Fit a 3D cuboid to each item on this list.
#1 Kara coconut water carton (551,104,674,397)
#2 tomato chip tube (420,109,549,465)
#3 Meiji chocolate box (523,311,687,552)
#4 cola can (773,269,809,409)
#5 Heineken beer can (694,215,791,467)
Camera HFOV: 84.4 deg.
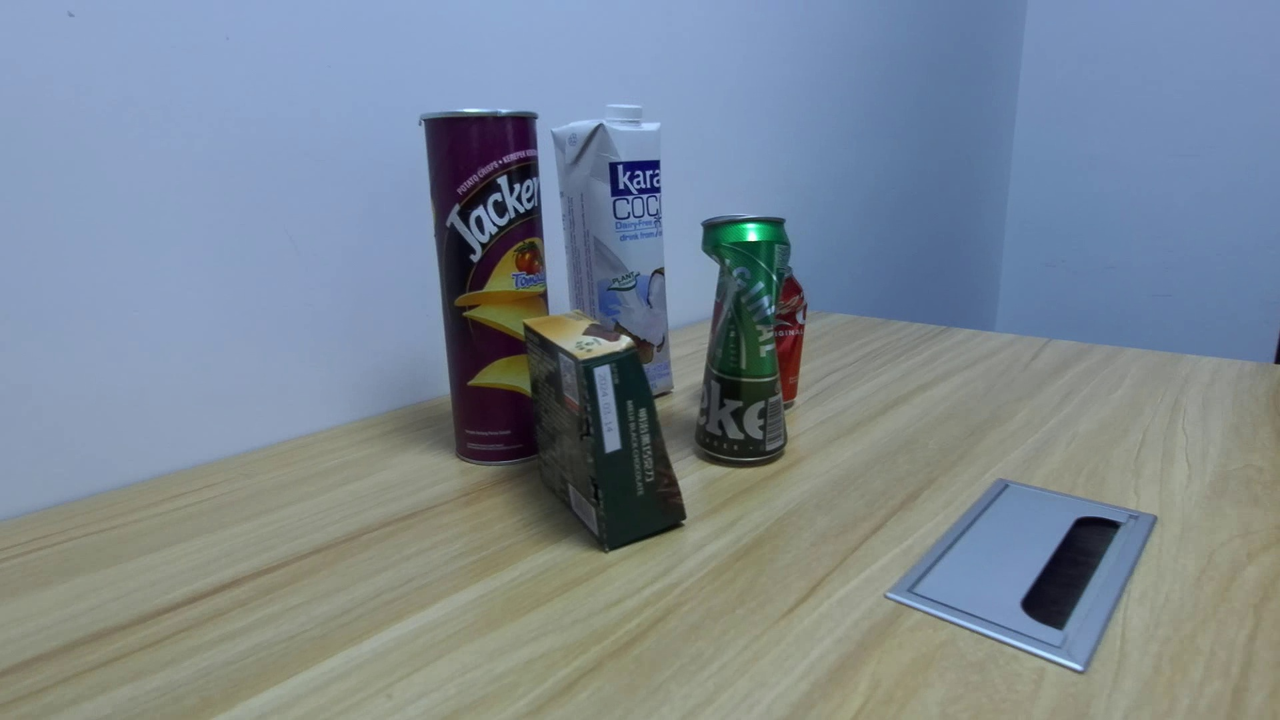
[{"bbox_3d":[-0.021,-0.086,0.599,0.077,0.245,0.075,-17,20,-42],"label":"Kara coconut water carton"},{"bbox_3d":[-0.101,-0.050,0.501,0.080,0.234,0.076,-11,16,-29],"label":"tomato chip tube"},{"bbox_3d":[-0.022,0.033,0.416,0.058,0.111,0.113,-12,17,-22],"label":"Meiji chocolate box"},{"bbox_3d":[0.099,-0.020,0.585,0.072,0.117,0.065,-3,13,-3],"label":"cola can"},{"bbox_3d":[0.069,-0.013,0.479,0.066,0.164,0.078,6,12,32],"label":"Heineken beer can"}]
